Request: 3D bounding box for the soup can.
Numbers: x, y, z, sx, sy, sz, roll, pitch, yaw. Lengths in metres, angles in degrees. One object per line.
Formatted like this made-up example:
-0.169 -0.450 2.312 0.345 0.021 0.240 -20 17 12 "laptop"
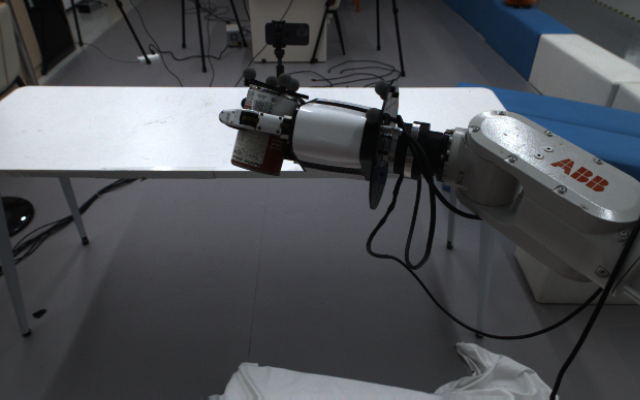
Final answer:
-0.071 -0.088 0.626 0.067 0.101 0.067 15 7 -2 "soup can"
